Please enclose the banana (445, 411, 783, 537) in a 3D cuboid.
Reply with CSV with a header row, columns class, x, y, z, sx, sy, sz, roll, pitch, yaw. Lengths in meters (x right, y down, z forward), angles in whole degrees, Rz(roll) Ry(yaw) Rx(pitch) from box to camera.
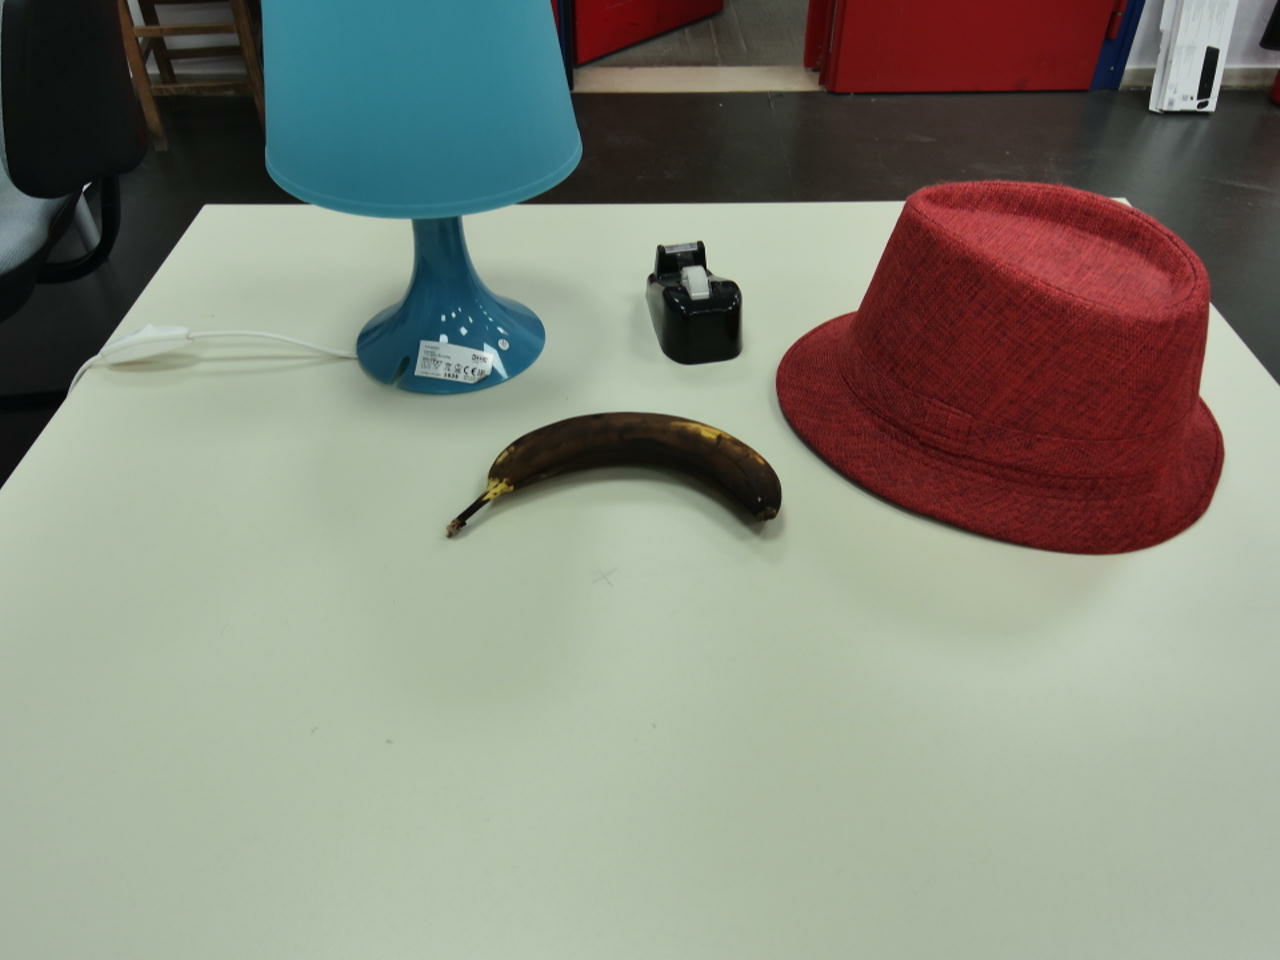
class,x,y,z,sx,sy,sz,roll,pitch,yaw
banana,-0.013,-0.009,0.583,0.188,0.034,0.091,0,39,1
